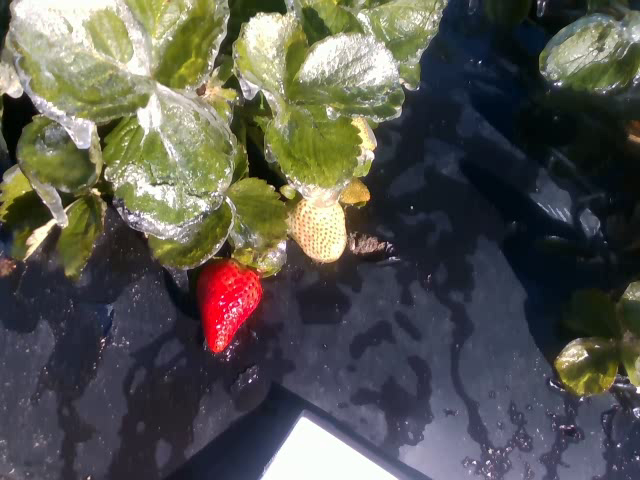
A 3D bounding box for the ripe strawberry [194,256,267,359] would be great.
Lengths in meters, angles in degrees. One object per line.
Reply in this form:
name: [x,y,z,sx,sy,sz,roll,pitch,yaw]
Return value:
ripe strawberry: [-0.055,0.041,0.333,0.042,0.052,0.040,15,-8,3]
